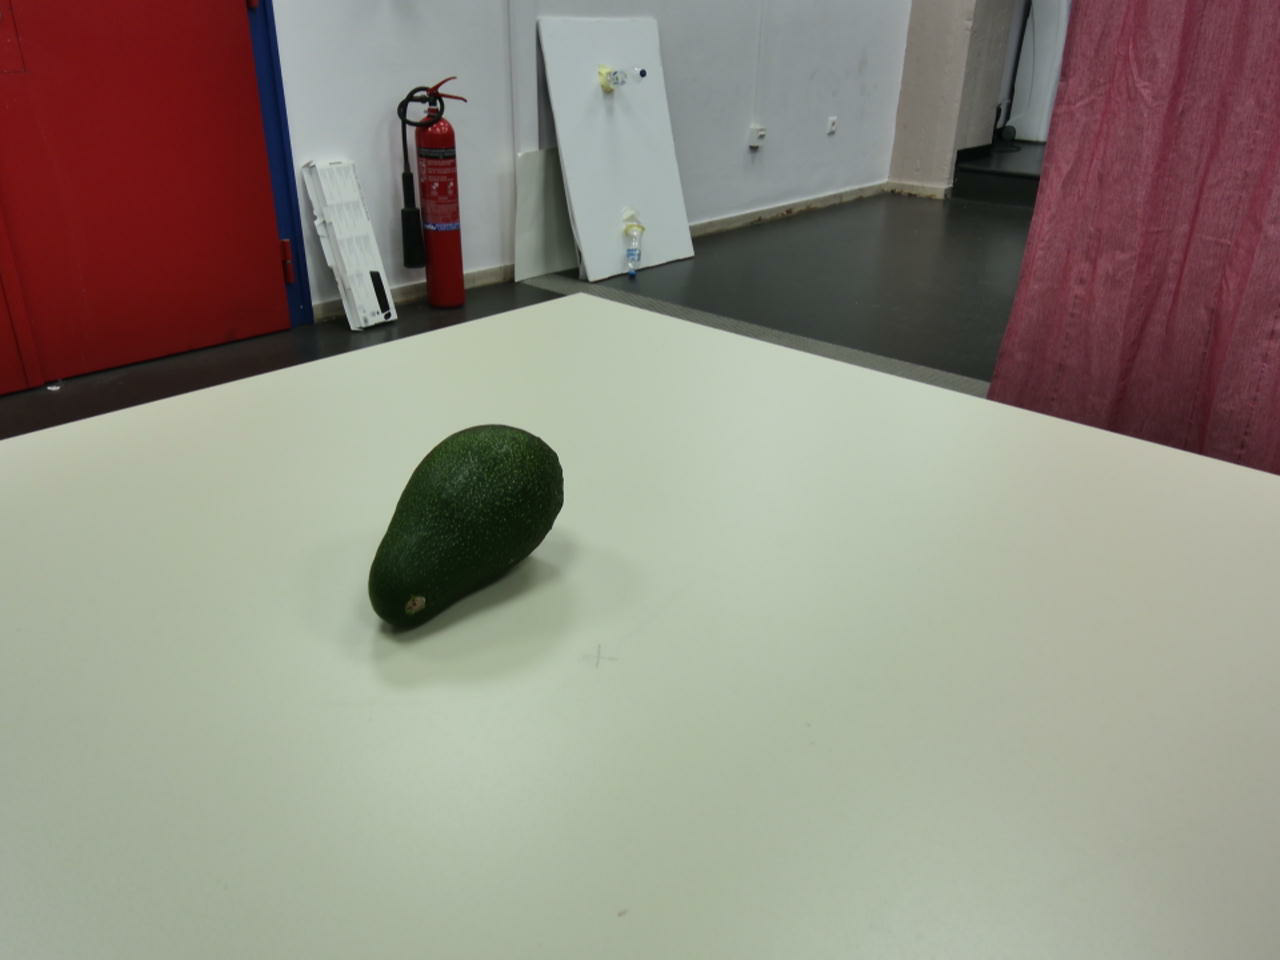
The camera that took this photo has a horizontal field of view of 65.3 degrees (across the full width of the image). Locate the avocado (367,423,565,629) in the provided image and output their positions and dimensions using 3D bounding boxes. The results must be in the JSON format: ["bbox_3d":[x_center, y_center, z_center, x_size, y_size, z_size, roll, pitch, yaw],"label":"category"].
[{"bbox_3d":[-0.091,0.015,0.499,0.123,0.076,0.074,-20,32,-39],"label":"avocado"}]
